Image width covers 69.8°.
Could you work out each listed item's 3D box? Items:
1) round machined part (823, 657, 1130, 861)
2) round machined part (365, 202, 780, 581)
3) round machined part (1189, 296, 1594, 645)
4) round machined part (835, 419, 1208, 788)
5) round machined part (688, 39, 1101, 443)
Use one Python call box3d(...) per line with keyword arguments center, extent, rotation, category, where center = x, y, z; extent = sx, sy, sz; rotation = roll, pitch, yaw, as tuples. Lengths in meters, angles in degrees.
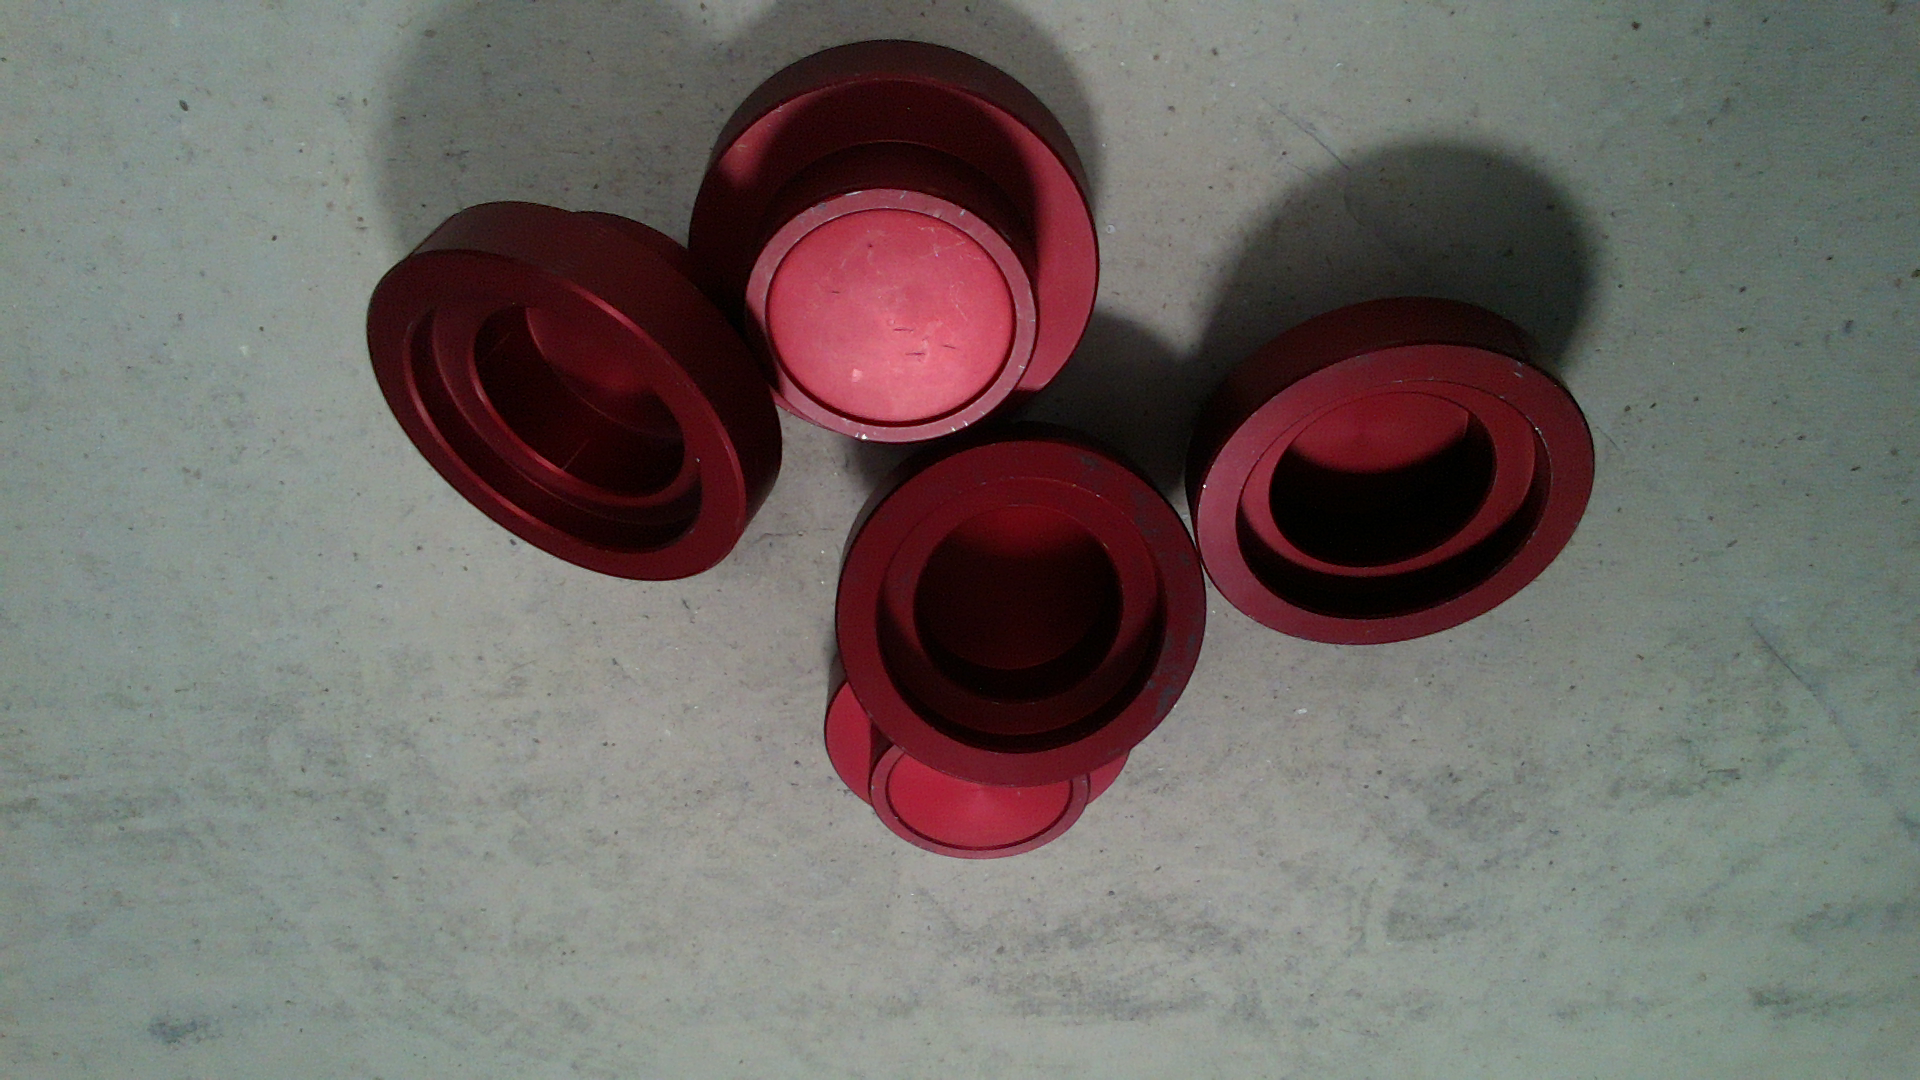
box3d(center=(0.006, 0.064, 0.432), extent=(0.098, 0.042, 0.098), rotation=(0, 130, 0), category="round machined part")
box3d(center=(-0.087, -0.039, 0.332), extent=(0.098, 0.042, 0.098), rotation=(16, 139, 14), category="round machined part")
box3d(center=(0.109, -0.022, 0.362), extent=(0.098, 0.042, 0.098), rotation=(0, 130, 0), category="round machined part")
box3d(center=(0.016, 0.015, 0.378), extent=(0.098, 0.042, 0.098), rotation=(-1, 107, -2), category="round machined part")
box3d(center=(-0.016, -0.062, 0.326), extent=(0.098, 0.042, 0.098), rotation=(0, 130, 0), category="round machined part")
